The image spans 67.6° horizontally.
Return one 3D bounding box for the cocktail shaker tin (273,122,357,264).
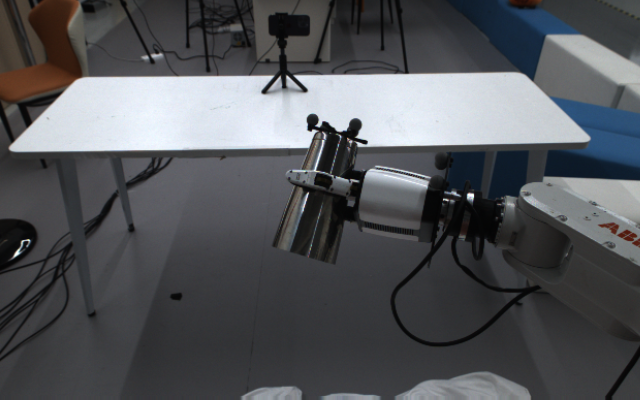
[{"bbox_3d":[-0.001,-0.005,0.678,0.093,0.170,0.093,15,-6,2],"label":"cocktail shaker tin"}]
